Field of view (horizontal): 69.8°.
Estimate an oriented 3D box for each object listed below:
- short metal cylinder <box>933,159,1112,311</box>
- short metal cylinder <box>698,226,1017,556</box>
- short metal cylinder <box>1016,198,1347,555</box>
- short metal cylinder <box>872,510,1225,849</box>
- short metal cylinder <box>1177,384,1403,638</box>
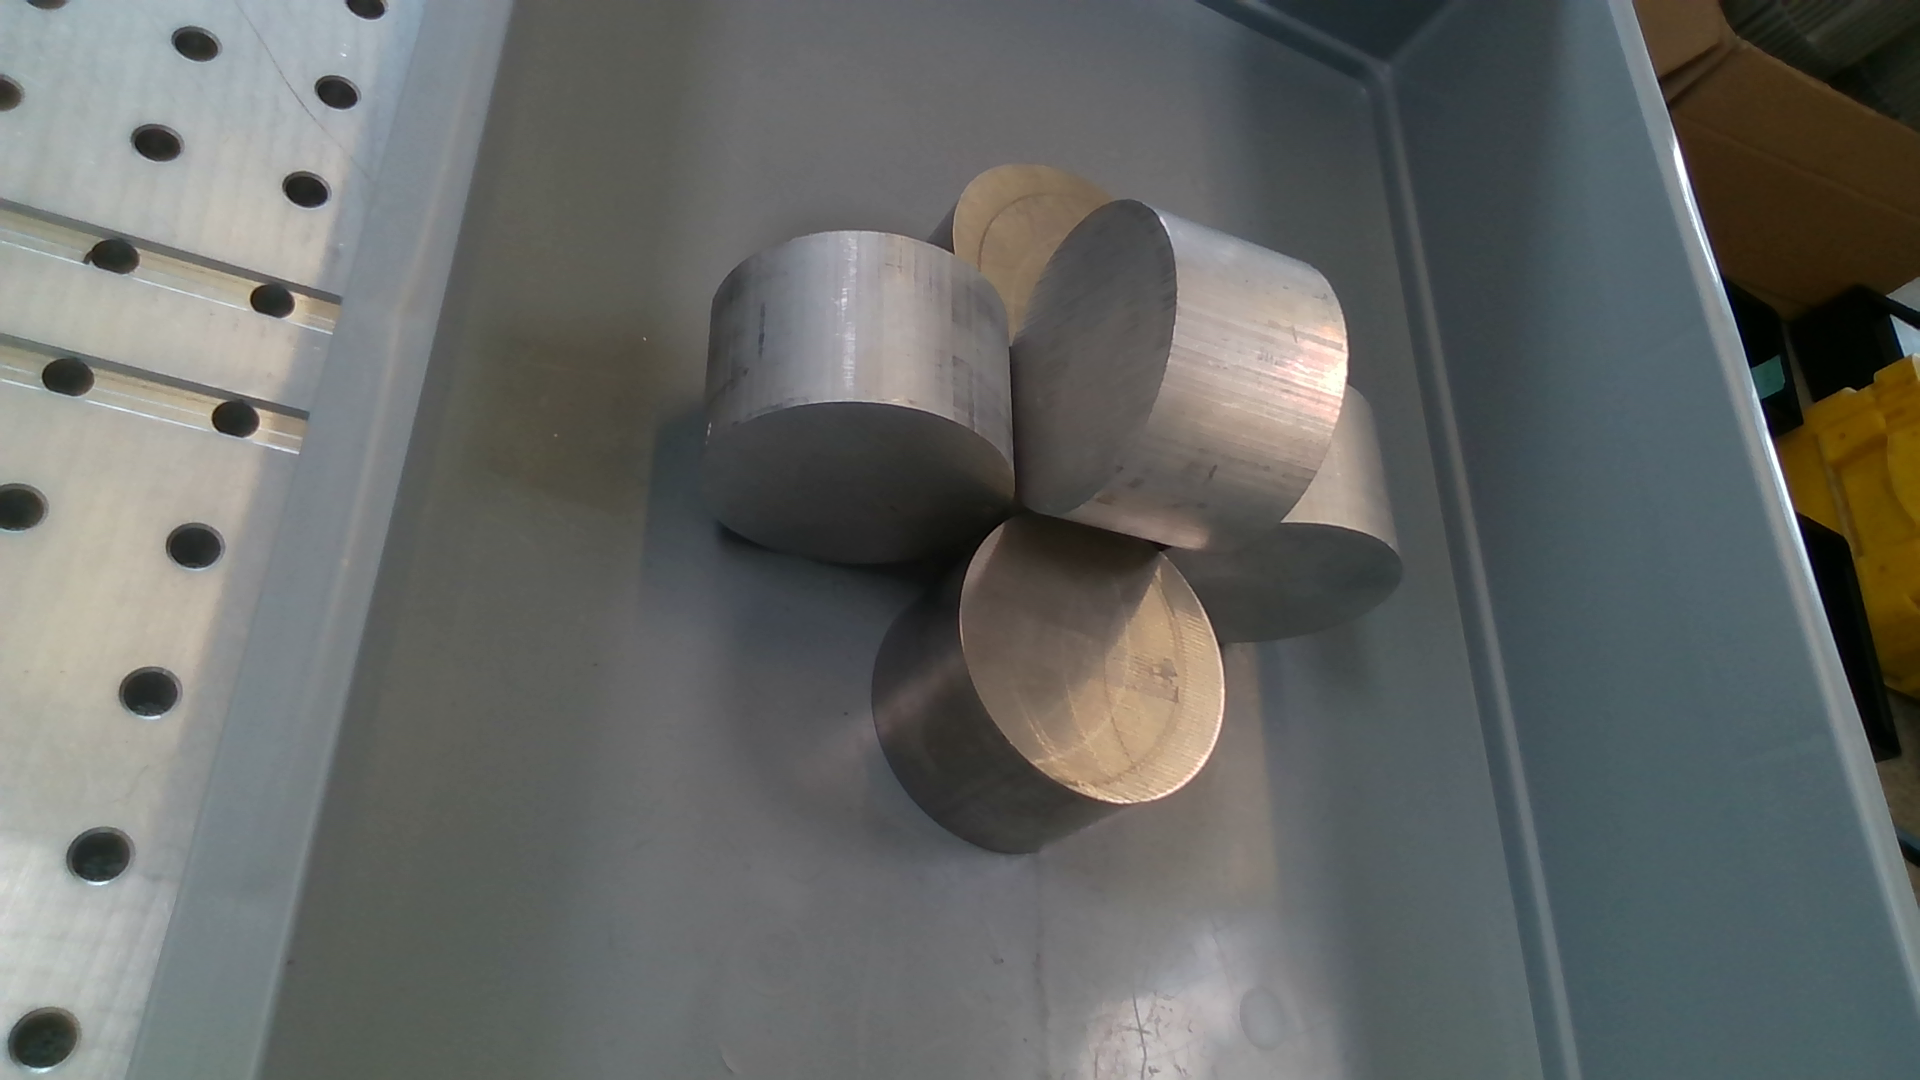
[{"bbox_3d":[0.022,-0.069,0.425,0.080,0.050,0.080,14,59,-25],"label":"short metal cylinder"},{"bbox_3d":[-0.026,-0.036,0.359,0.080,0.080,0.050,12,60,-26],"label":"short metal cylinder"},{"bbox_3d":[0.052,-0.040,0.353,0.050,0.080,0.080,13,59,-26],"label":"short metal cylinder"},{"bbox_3d":[0.023,0.037,0.369,0.080,0.050,0.080,14,59,-25],"label":"short metal cylinder"},{"bbox_3d":[0.088,-0.009,0.414,0.080,0.080,0.050,12,60,-26],"label":"short metal cylinder"}]
